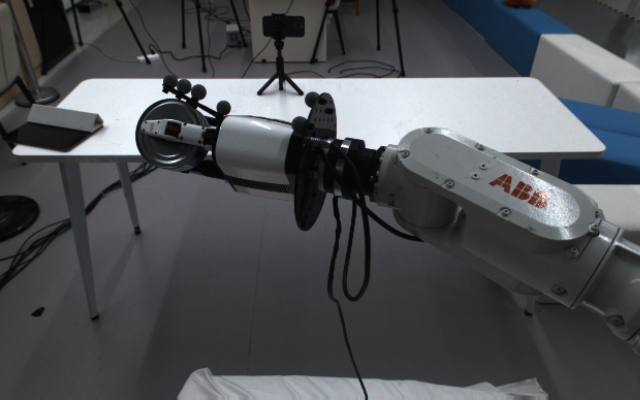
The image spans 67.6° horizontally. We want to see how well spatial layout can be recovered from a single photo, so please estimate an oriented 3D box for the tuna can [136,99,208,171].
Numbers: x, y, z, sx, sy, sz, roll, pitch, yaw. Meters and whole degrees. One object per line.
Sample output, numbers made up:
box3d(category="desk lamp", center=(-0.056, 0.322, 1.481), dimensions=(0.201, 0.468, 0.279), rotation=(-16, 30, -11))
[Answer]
box3d(category="tuna can", center=(-0.178, -0.077, 0.596), dimensions=(0.085, 0.085, 0.034), rotation=(9, -5, 10))
